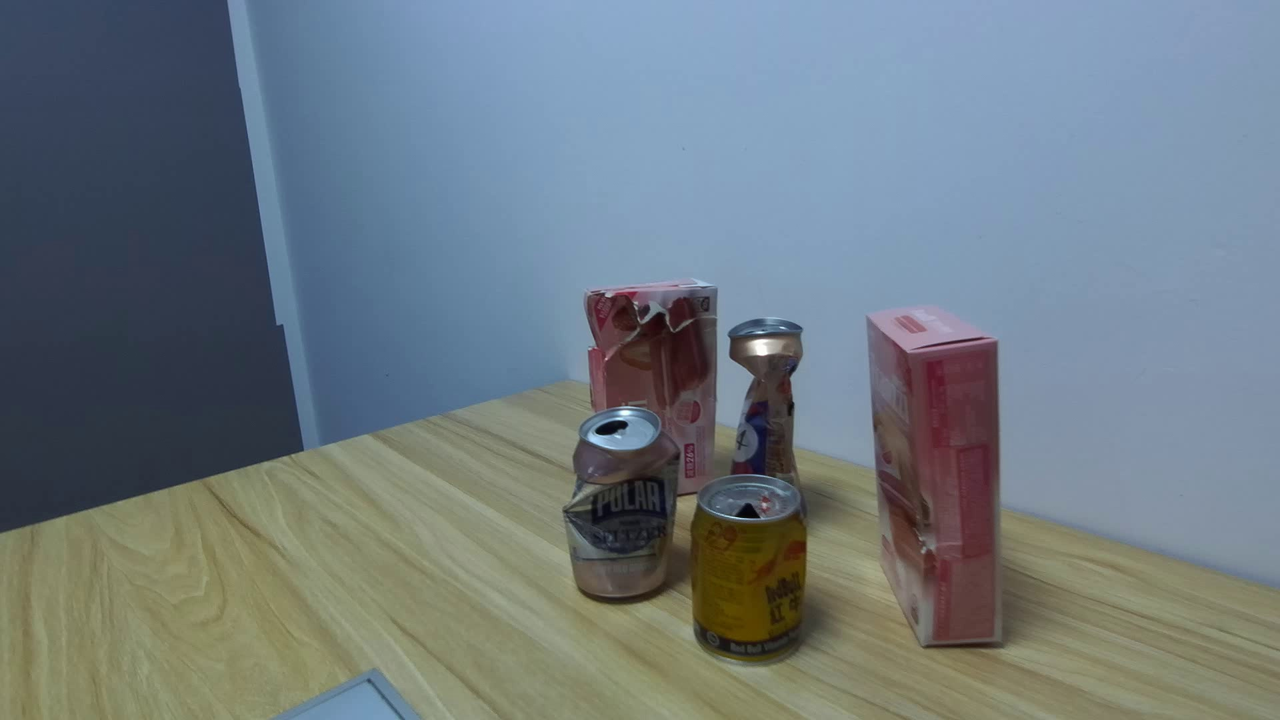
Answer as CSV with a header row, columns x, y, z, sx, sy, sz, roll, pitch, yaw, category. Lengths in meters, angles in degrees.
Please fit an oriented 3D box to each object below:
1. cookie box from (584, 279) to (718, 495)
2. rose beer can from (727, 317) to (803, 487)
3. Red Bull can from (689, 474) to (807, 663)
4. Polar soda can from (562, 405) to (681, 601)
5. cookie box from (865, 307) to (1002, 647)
x,y,z,sx,sy,sz,roll,pitch,yaw,category
0.012,0.029,0.600,0.105,0.186,0.059,-7,15,-14,cookie box
0.099,0.052,0.545,0.068,0.162,0.073,-10,13,-29,rose beer can
0.064,0.122,0.417,0.069,0.092,0.069,-2,15,1,Red Bull can
-0.013,0.099,0.472,0.066,0.122,0.071,16,22,36,Polar soda can
0.179,0.070,0.427,0.049,0.187,0.105,-7,15,8,cookie box
